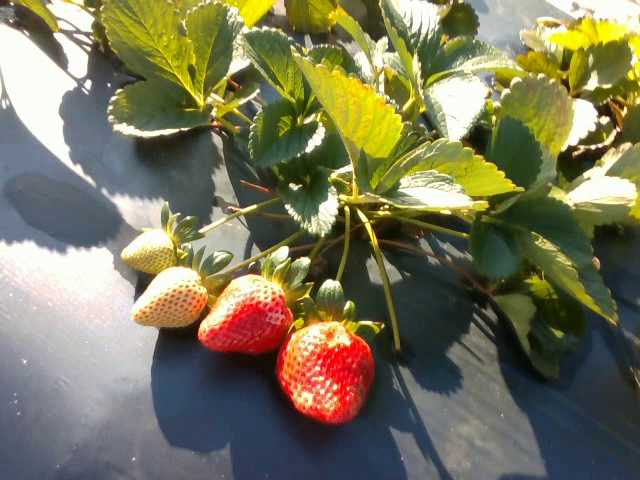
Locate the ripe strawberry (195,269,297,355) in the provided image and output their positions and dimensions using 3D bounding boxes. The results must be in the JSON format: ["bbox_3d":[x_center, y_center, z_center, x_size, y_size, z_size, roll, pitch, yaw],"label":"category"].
[{"bbox_3d":[-0.039,0.039,0.304,0.061,0.050,0.044,-23,-10,-44],"label":"ripe strawberry"}]

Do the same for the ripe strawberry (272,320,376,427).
[{"bbox_3d":[0.005,0.068,0.291,0.057,0.051,0.067,-15,27,3],"label":"ripe strawberry"}]
